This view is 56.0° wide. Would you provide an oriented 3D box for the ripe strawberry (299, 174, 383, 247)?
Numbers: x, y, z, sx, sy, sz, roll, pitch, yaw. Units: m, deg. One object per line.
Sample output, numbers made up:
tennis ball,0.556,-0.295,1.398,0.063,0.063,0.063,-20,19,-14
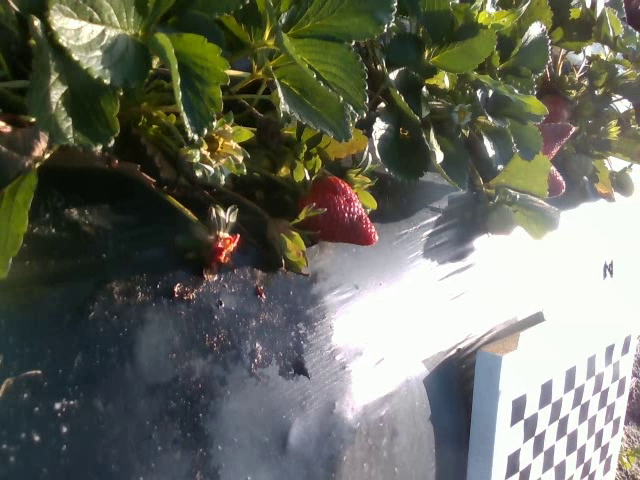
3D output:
ripe strawberry,0.016,-0.013,0.366,0.051,0.041,0.052,35,57,19
